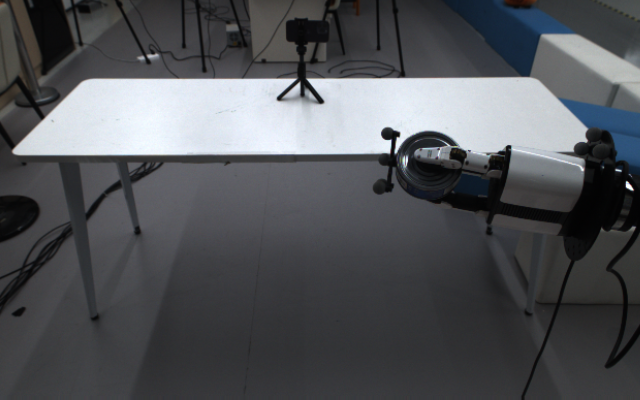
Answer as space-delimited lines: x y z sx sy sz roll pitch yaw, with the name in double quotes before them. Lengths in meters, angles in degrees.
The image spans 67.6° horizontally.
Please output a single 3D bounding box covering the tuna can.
"tuna can" 0.142 -0.049 0.628 0.085 0.034 0.085 -2 68 5
